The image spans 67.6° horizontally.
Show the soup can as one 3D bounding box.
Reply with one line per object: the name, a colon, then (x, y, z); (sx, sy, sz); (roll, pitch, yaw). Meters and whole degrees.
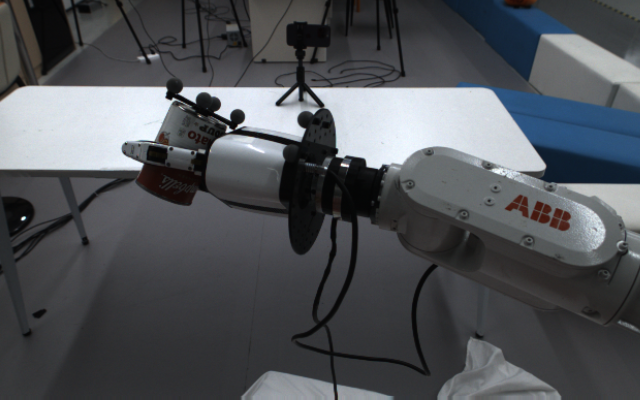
soup can: (-0.157, -0.052, 0.553); (0.067, 0.101, 0.067); (27, 6, -3)
